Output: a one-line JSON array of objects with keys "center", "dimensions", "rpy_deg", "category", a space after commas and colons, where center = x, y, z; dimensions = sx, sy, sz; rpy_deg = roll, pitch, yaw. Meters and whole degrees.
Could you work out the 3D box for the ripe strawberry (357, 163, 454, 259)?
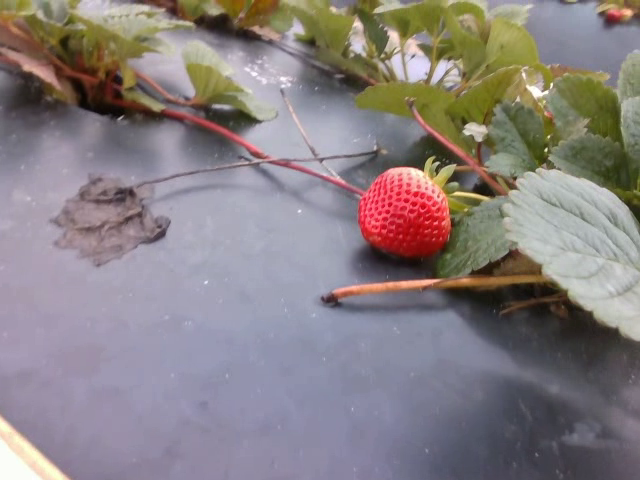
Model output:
[{"center": [0.045, -0.020, 0.345], "dimensions": [0.062, 0.065, 0.049], "rpy_deg": [42, -18, 20], "category": "ripe strawberry"}]
